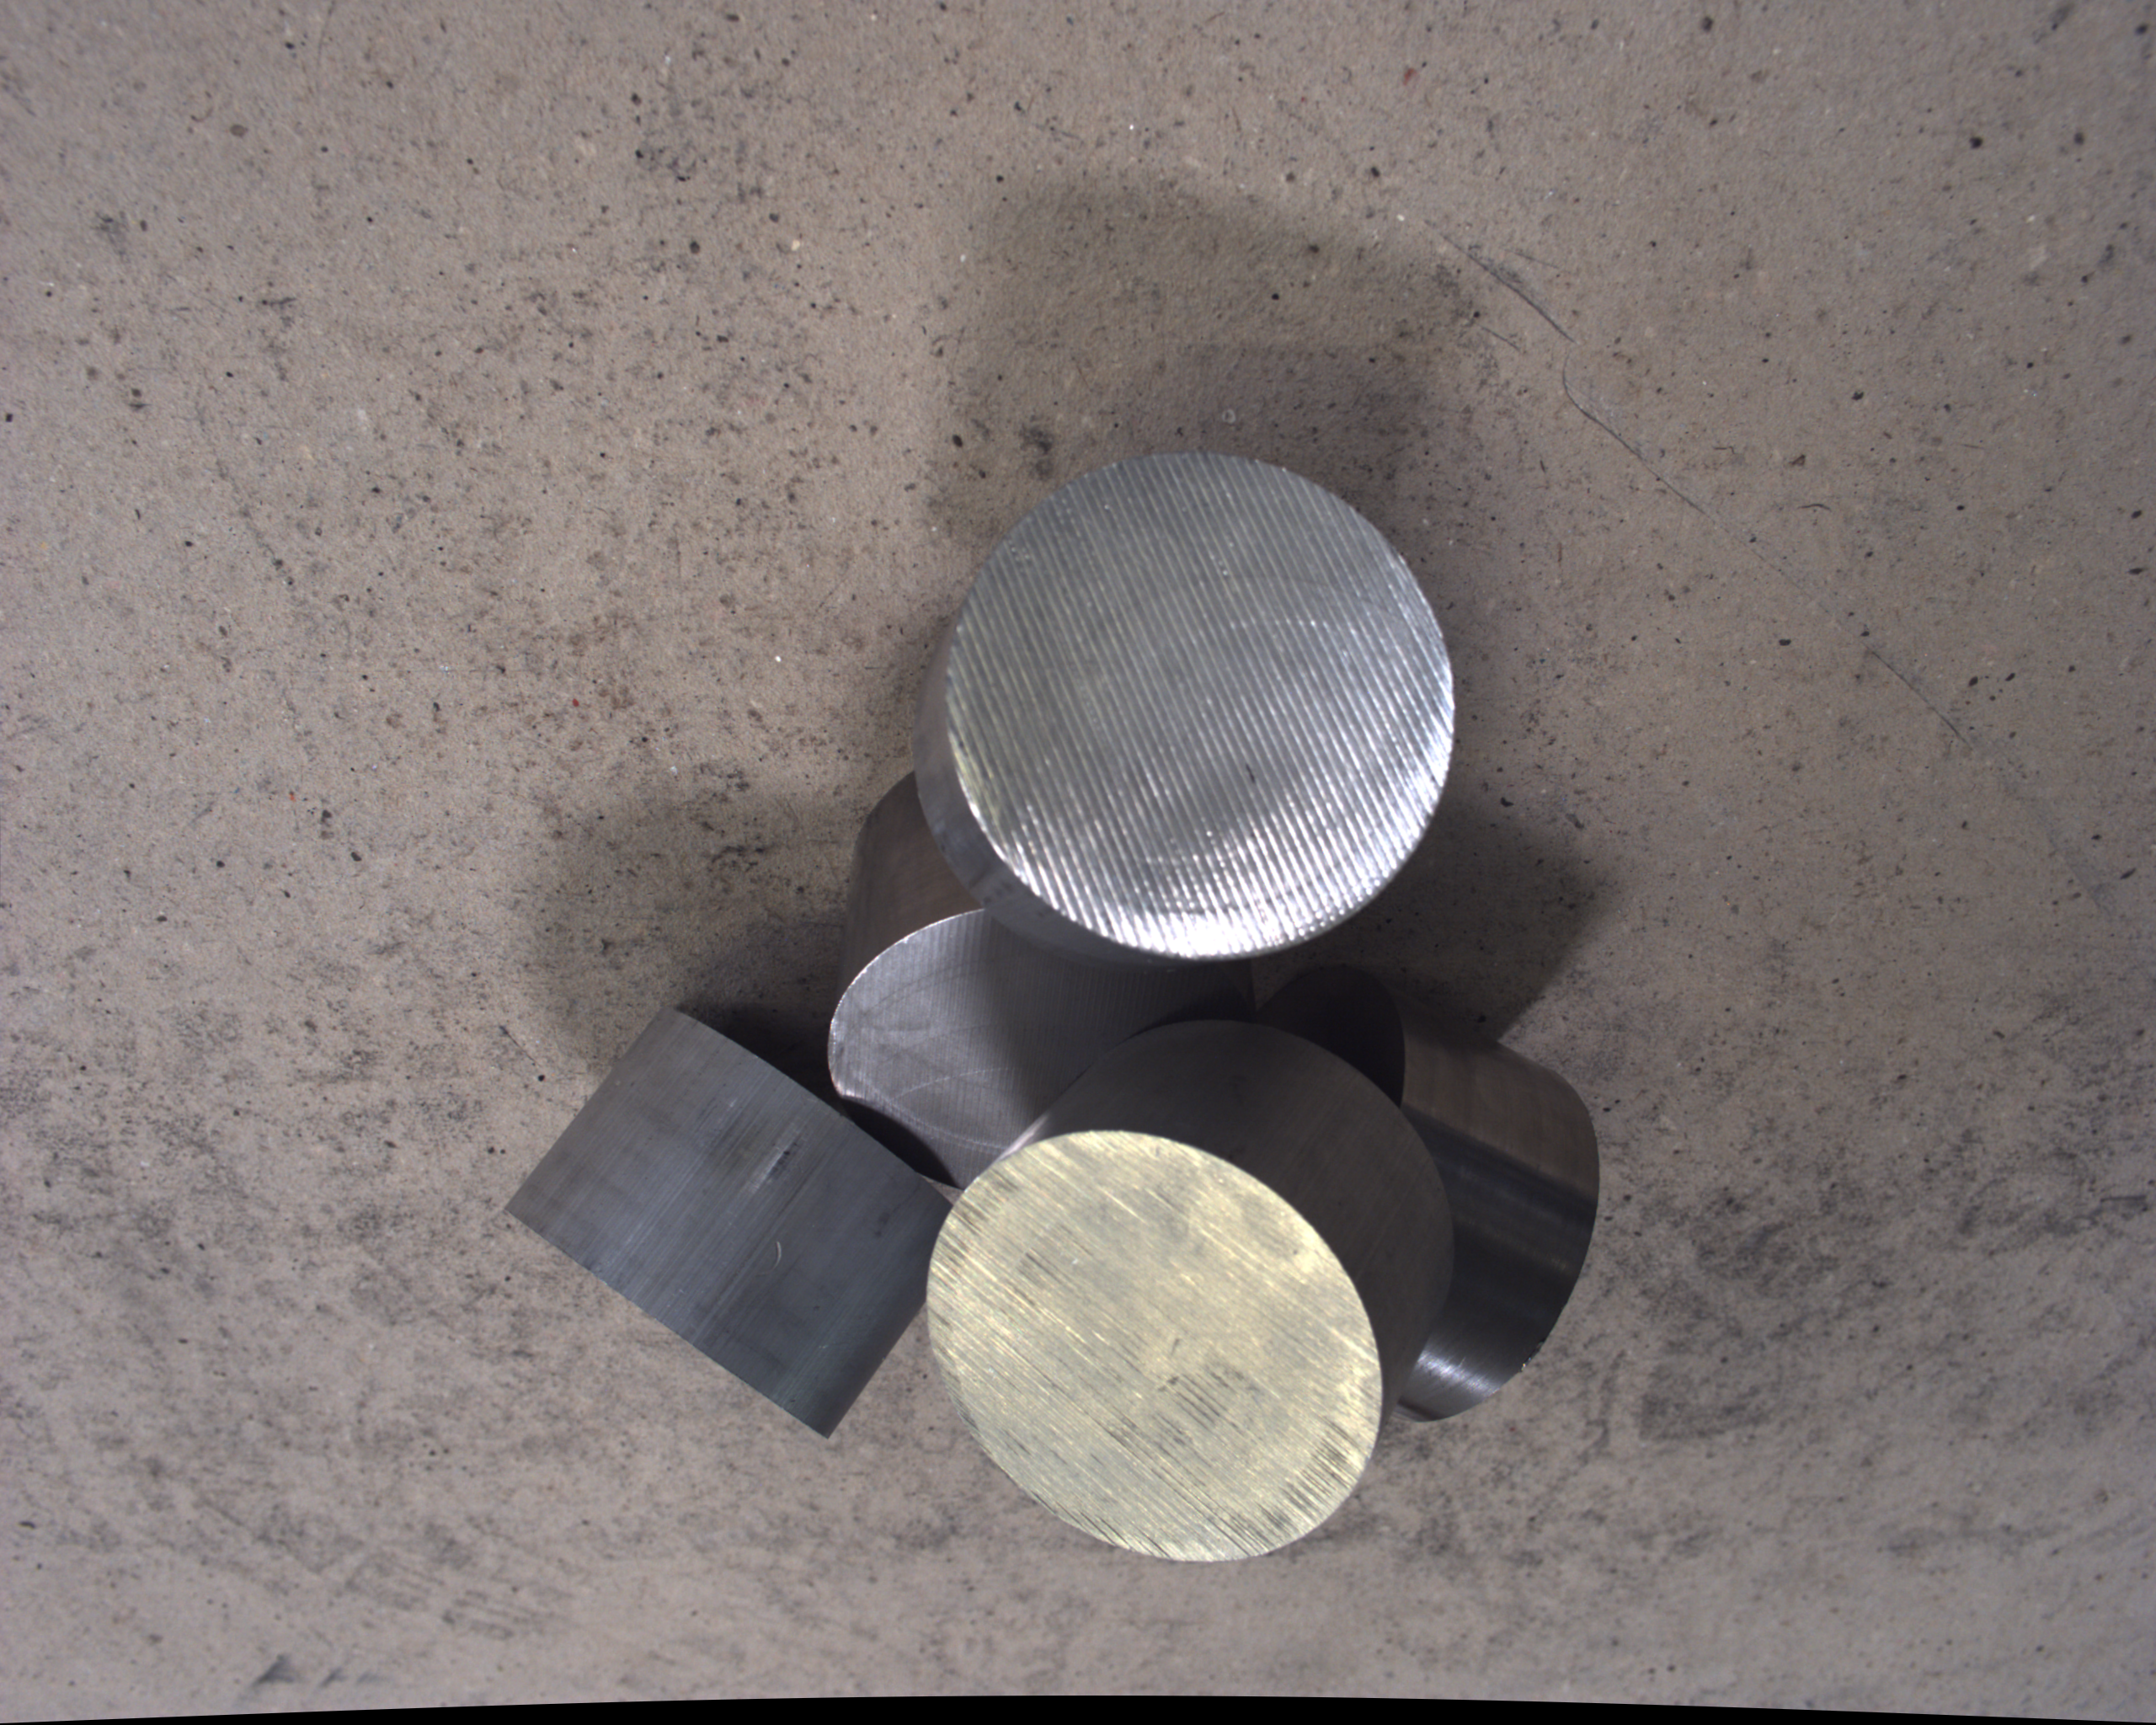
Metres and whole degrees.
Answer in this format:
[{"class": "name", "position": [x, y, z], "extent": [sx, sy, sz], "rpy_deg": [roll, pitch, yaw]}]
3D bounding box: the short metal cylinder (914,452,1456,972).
[{"class": "short metal cylinder", "position": [0.015, -0.022, 0.346], "extent": [0.081, 0.080, 0.050], "rpy_deg": [10, 173, -9]}]

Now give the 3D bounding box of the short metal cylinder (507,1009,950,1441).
[{"class": "short metal cylinder", "position": [-0.069, 0.074, 0.427], "extent": [0.080, 0.050, 0.080], "rpy_deg": [33, 164, 11]}]

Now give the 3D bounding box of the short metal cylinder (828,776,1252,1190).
[{"class": "short metal cylinder", "position": [-0.007, 0.021, 0.410], "extent": [0.081, 0.050, 0.079], "rpy_deg": [-1, 130, 0]}]

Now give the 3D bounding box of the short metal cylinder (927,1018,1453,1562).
[{"class": "short metal cylinder", "position": [0.021, 0.074, 0.367], "extent": [0.080, 0.050, 0.079], "rpy_deg": [7, 110, 21]}]

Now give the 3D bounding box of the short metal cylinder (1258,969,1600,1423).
[{"class": "short metal cylinder", "position": [0.060, 0.069, 0.431], "extent": [0.050, 0.080, 0.080], "rpy_deg": [28, 125, -22]}]
